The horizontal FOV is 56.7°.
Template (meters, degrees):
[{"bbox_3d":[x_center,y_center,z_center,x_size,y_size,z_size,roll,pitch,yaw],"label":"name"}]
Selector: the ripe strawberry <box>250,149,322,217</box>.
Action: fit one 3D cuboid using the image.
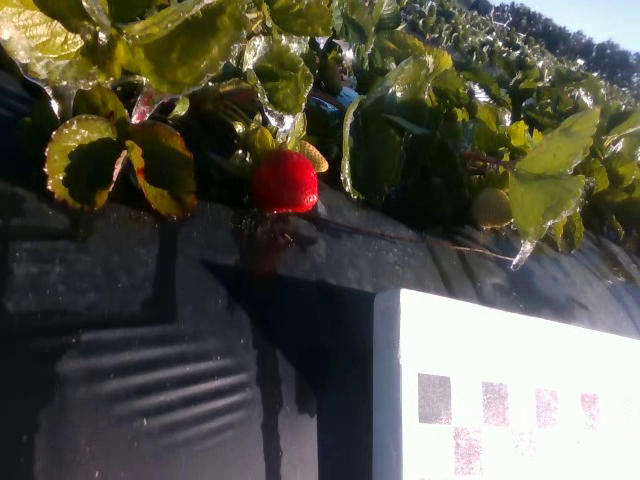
[{"bbox_3d":[-0.010,-0.021,0.243,0.039,0.040,0.039,0,13,-27],"label":"ripe strawberry"}]
